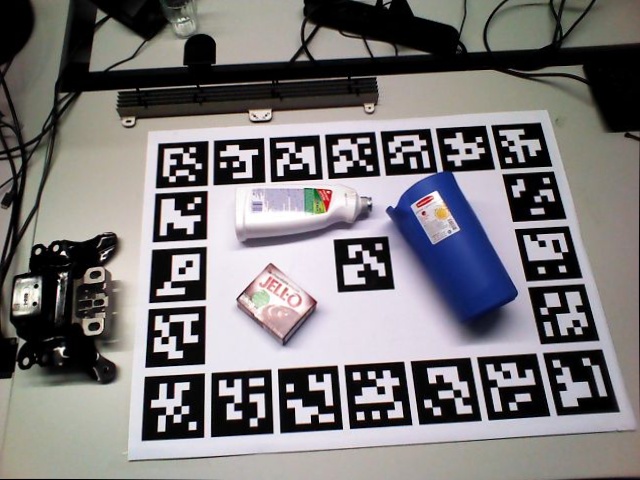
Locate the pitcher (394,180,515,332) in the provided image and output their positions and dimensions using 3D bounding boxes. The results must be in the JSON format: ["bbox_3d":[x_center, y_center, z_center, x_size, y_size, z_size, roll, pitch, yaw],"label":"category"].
[{"bbox_3d":[0.248,0.027,0.888,0.187,0.134,0.242,-15,71,-43],"label":"pitcher"}]

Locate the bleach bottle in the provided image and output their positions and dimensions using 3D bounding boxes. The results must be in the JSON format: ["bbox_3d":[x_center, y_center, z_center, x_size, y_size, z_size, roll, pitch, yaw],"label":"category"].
[{"bbox_3d":[-0.018,-0.055,0.935,0.251,0.068,0.102,-5,73,-4],"label":"bleach bottle"}]

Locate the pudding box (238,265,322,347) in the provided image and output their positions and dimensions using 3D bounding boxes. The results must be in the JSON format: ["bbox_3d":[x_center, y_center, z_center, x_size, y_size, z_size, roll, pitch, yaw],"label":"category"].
[{"bbox_3d":[-0.069,0.112,0.877,0.114,0.039,0.089,41,68,12],"label":"pudding box"}]
